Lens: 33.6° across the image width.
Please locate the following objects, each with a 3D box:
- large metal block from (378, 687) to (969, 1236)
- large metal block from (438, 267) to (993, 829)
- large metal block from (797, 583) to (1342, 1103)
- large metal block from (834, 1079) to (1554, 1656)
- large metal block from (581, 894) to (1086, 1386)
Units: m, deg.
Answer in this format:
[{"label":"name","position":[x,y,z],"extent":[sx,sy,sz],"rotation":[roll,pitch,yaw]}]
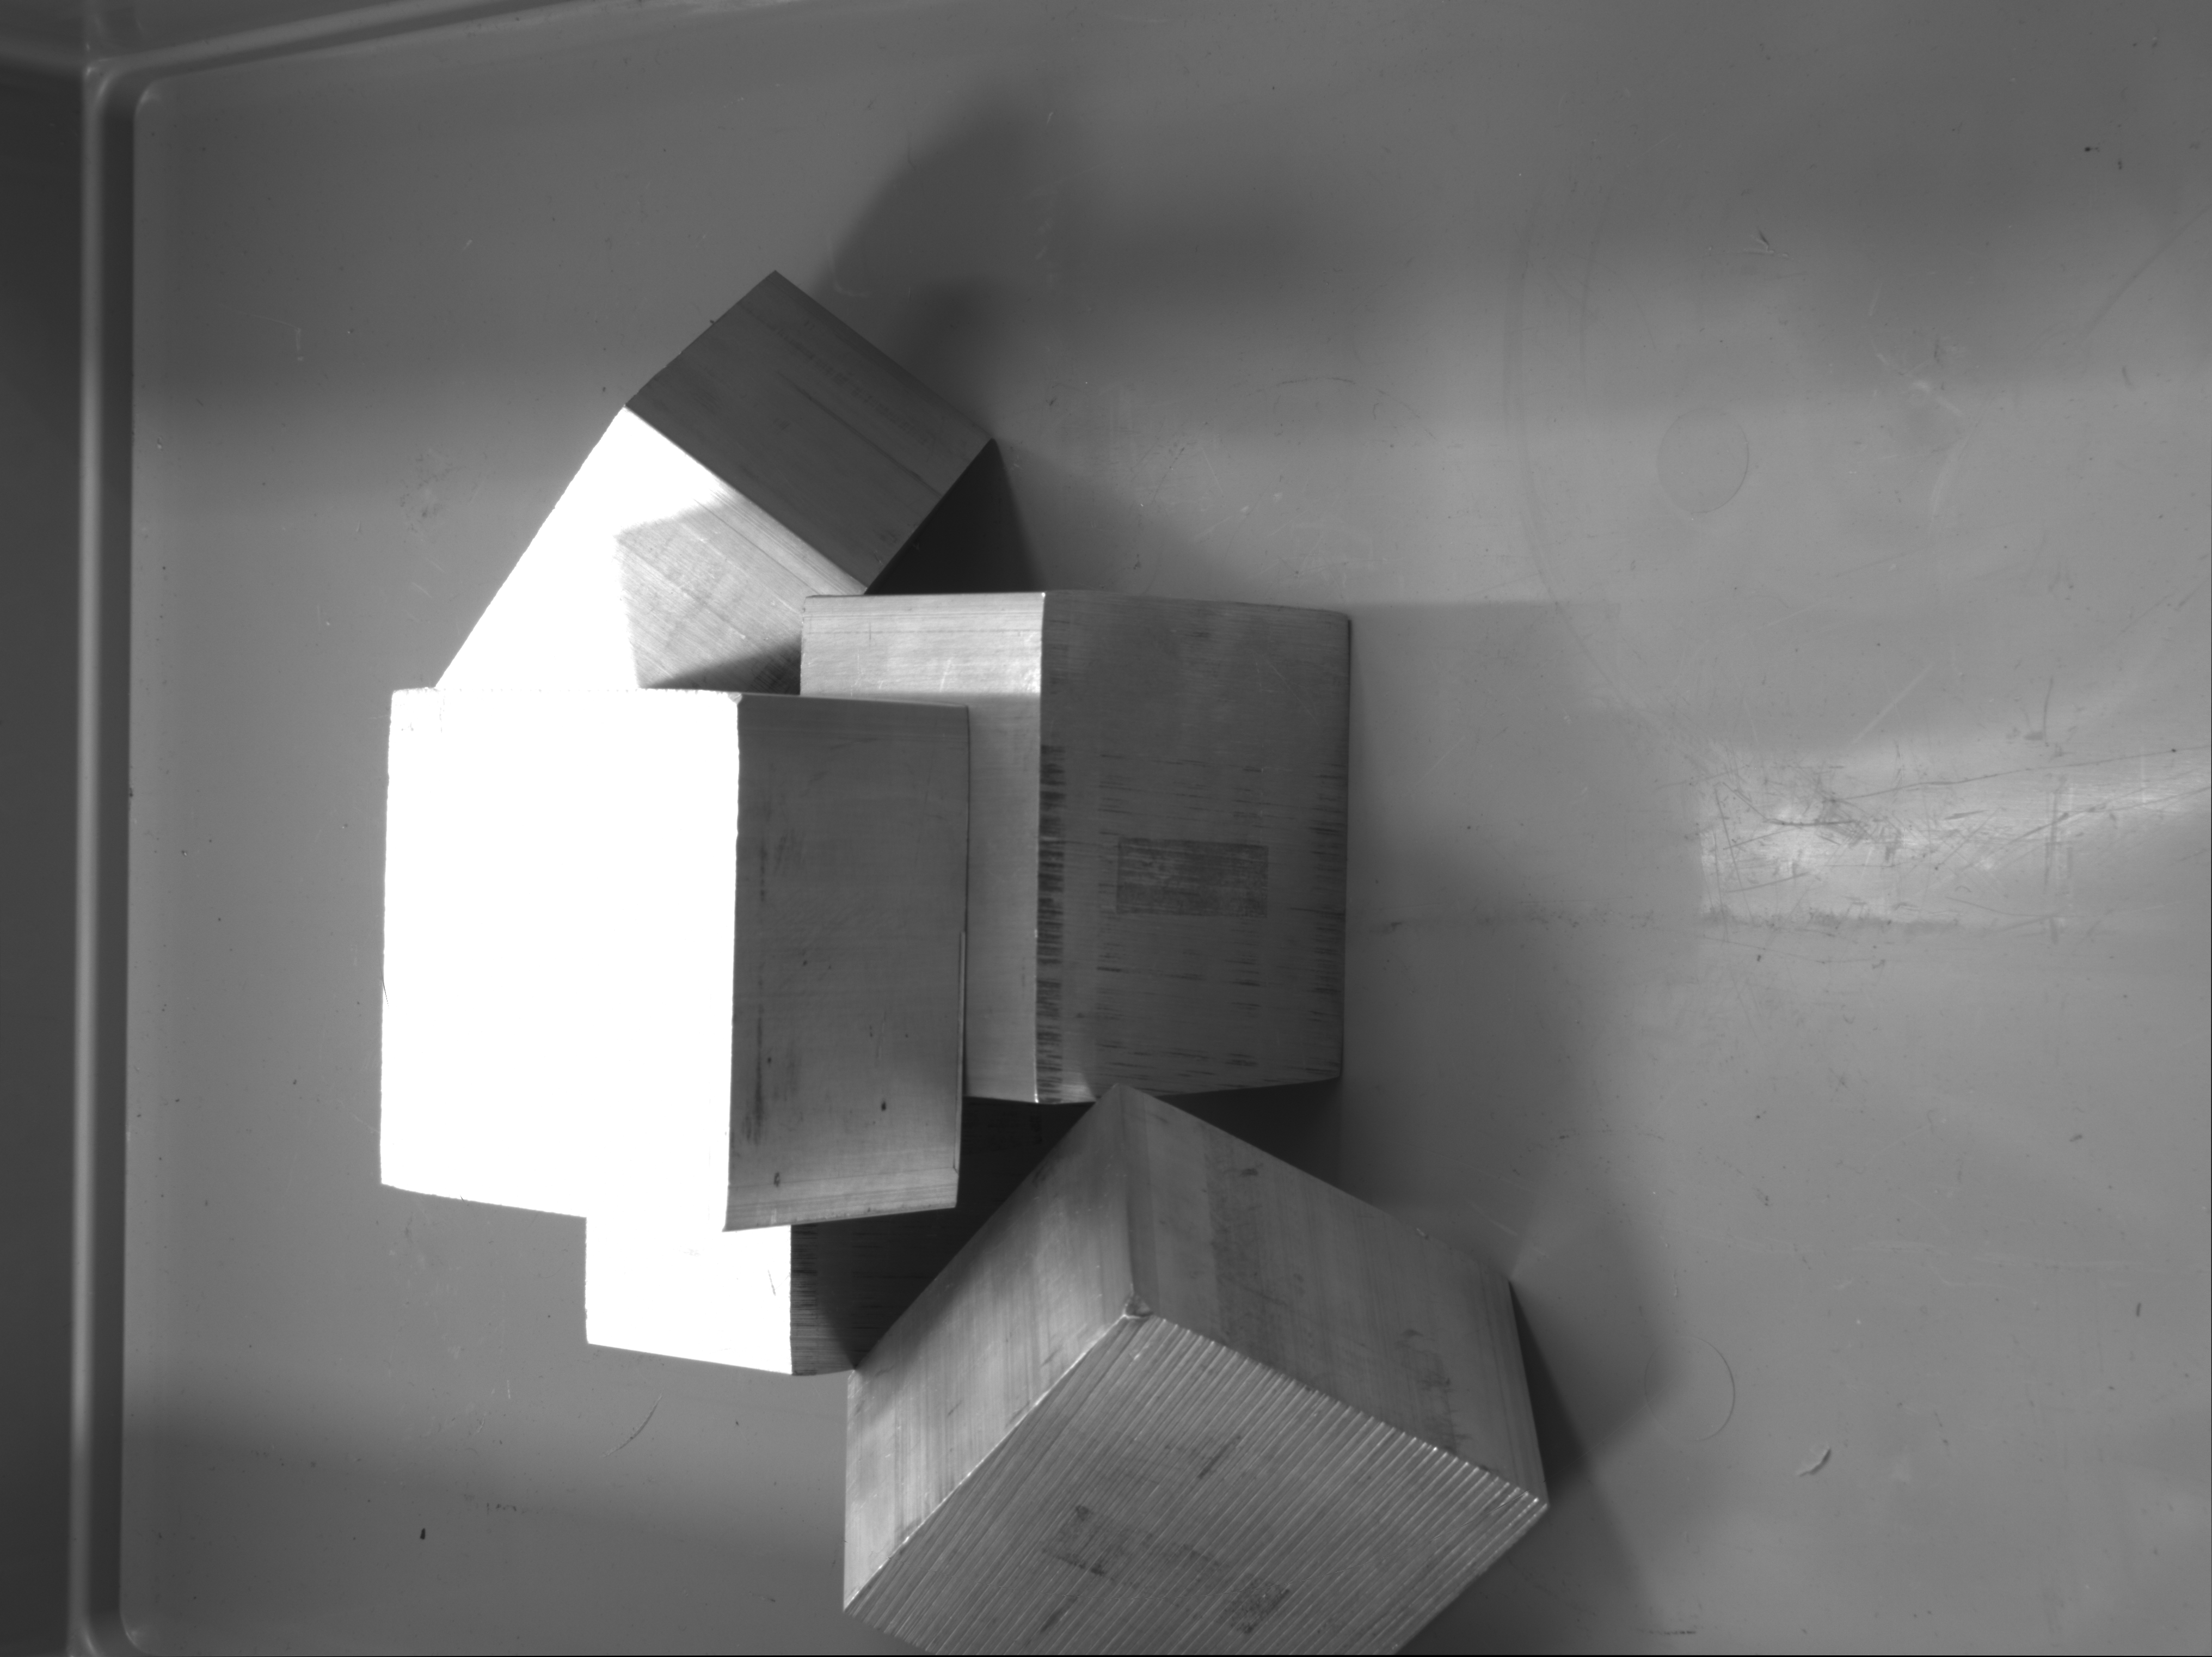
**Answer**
[{"label":"large metal block","position":[-0.069,0.018,0.580],"extent":[0.080,0.050,0.080],"rotation":[2,91,40]},{"label":"large metal block","position":[-0.072,-0.044,0.659],"extent":[0.050,0.080,0.080],"rotation":[37,118,-4]},{"label":"large metal block","position":[-0.005,0.002,0.610],"extent":[0.050,0.080,0.080],"rotation":[1,90,40]},{"label":"large metal block","position":[0.012,0.098,0.587],"extent":[0.080,0.080,0.050],"rotation":[-49,26,29]},{"label":"large metal block","position":[-0.045,0.051,0.646],"extent":[0.050,0.080,0.080],"rotation":[1,90,40]}]
